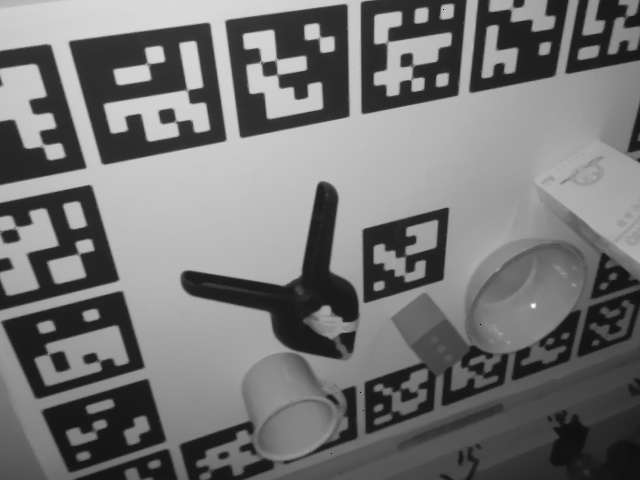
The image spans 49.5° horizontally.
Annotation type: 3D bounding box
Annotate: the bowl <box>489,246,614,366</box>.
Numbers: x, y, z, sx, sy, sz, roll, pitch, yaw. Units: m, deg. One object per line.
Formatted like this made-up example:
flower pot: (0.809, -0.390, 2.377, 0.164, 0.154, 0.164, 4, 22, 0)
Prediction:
bowl: (0.254, 0.065, 0.800, 0.163, 0.055, 0.160, -10, 121, -16)

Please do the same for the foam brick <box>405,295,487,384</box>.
foam brick: (0.144, 0.112, 0.789, 0.053, 0.051, 0.078, -38, 125, 0)

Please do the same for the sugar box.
sugar box: (0.332, -0.036, 0.702, 0.093, 0.176, 0.045, -34, 124, 1)

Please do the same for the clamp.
clamp: (0.007, 0.061, 0.696, 0.166, 0.036, 0.203, -35, 125, -4)

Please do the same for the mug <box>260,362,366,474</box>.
mug: (-0.007, 0.186, 0.738, 0.118, 0.081, 0.092, 11, 113, -24)
